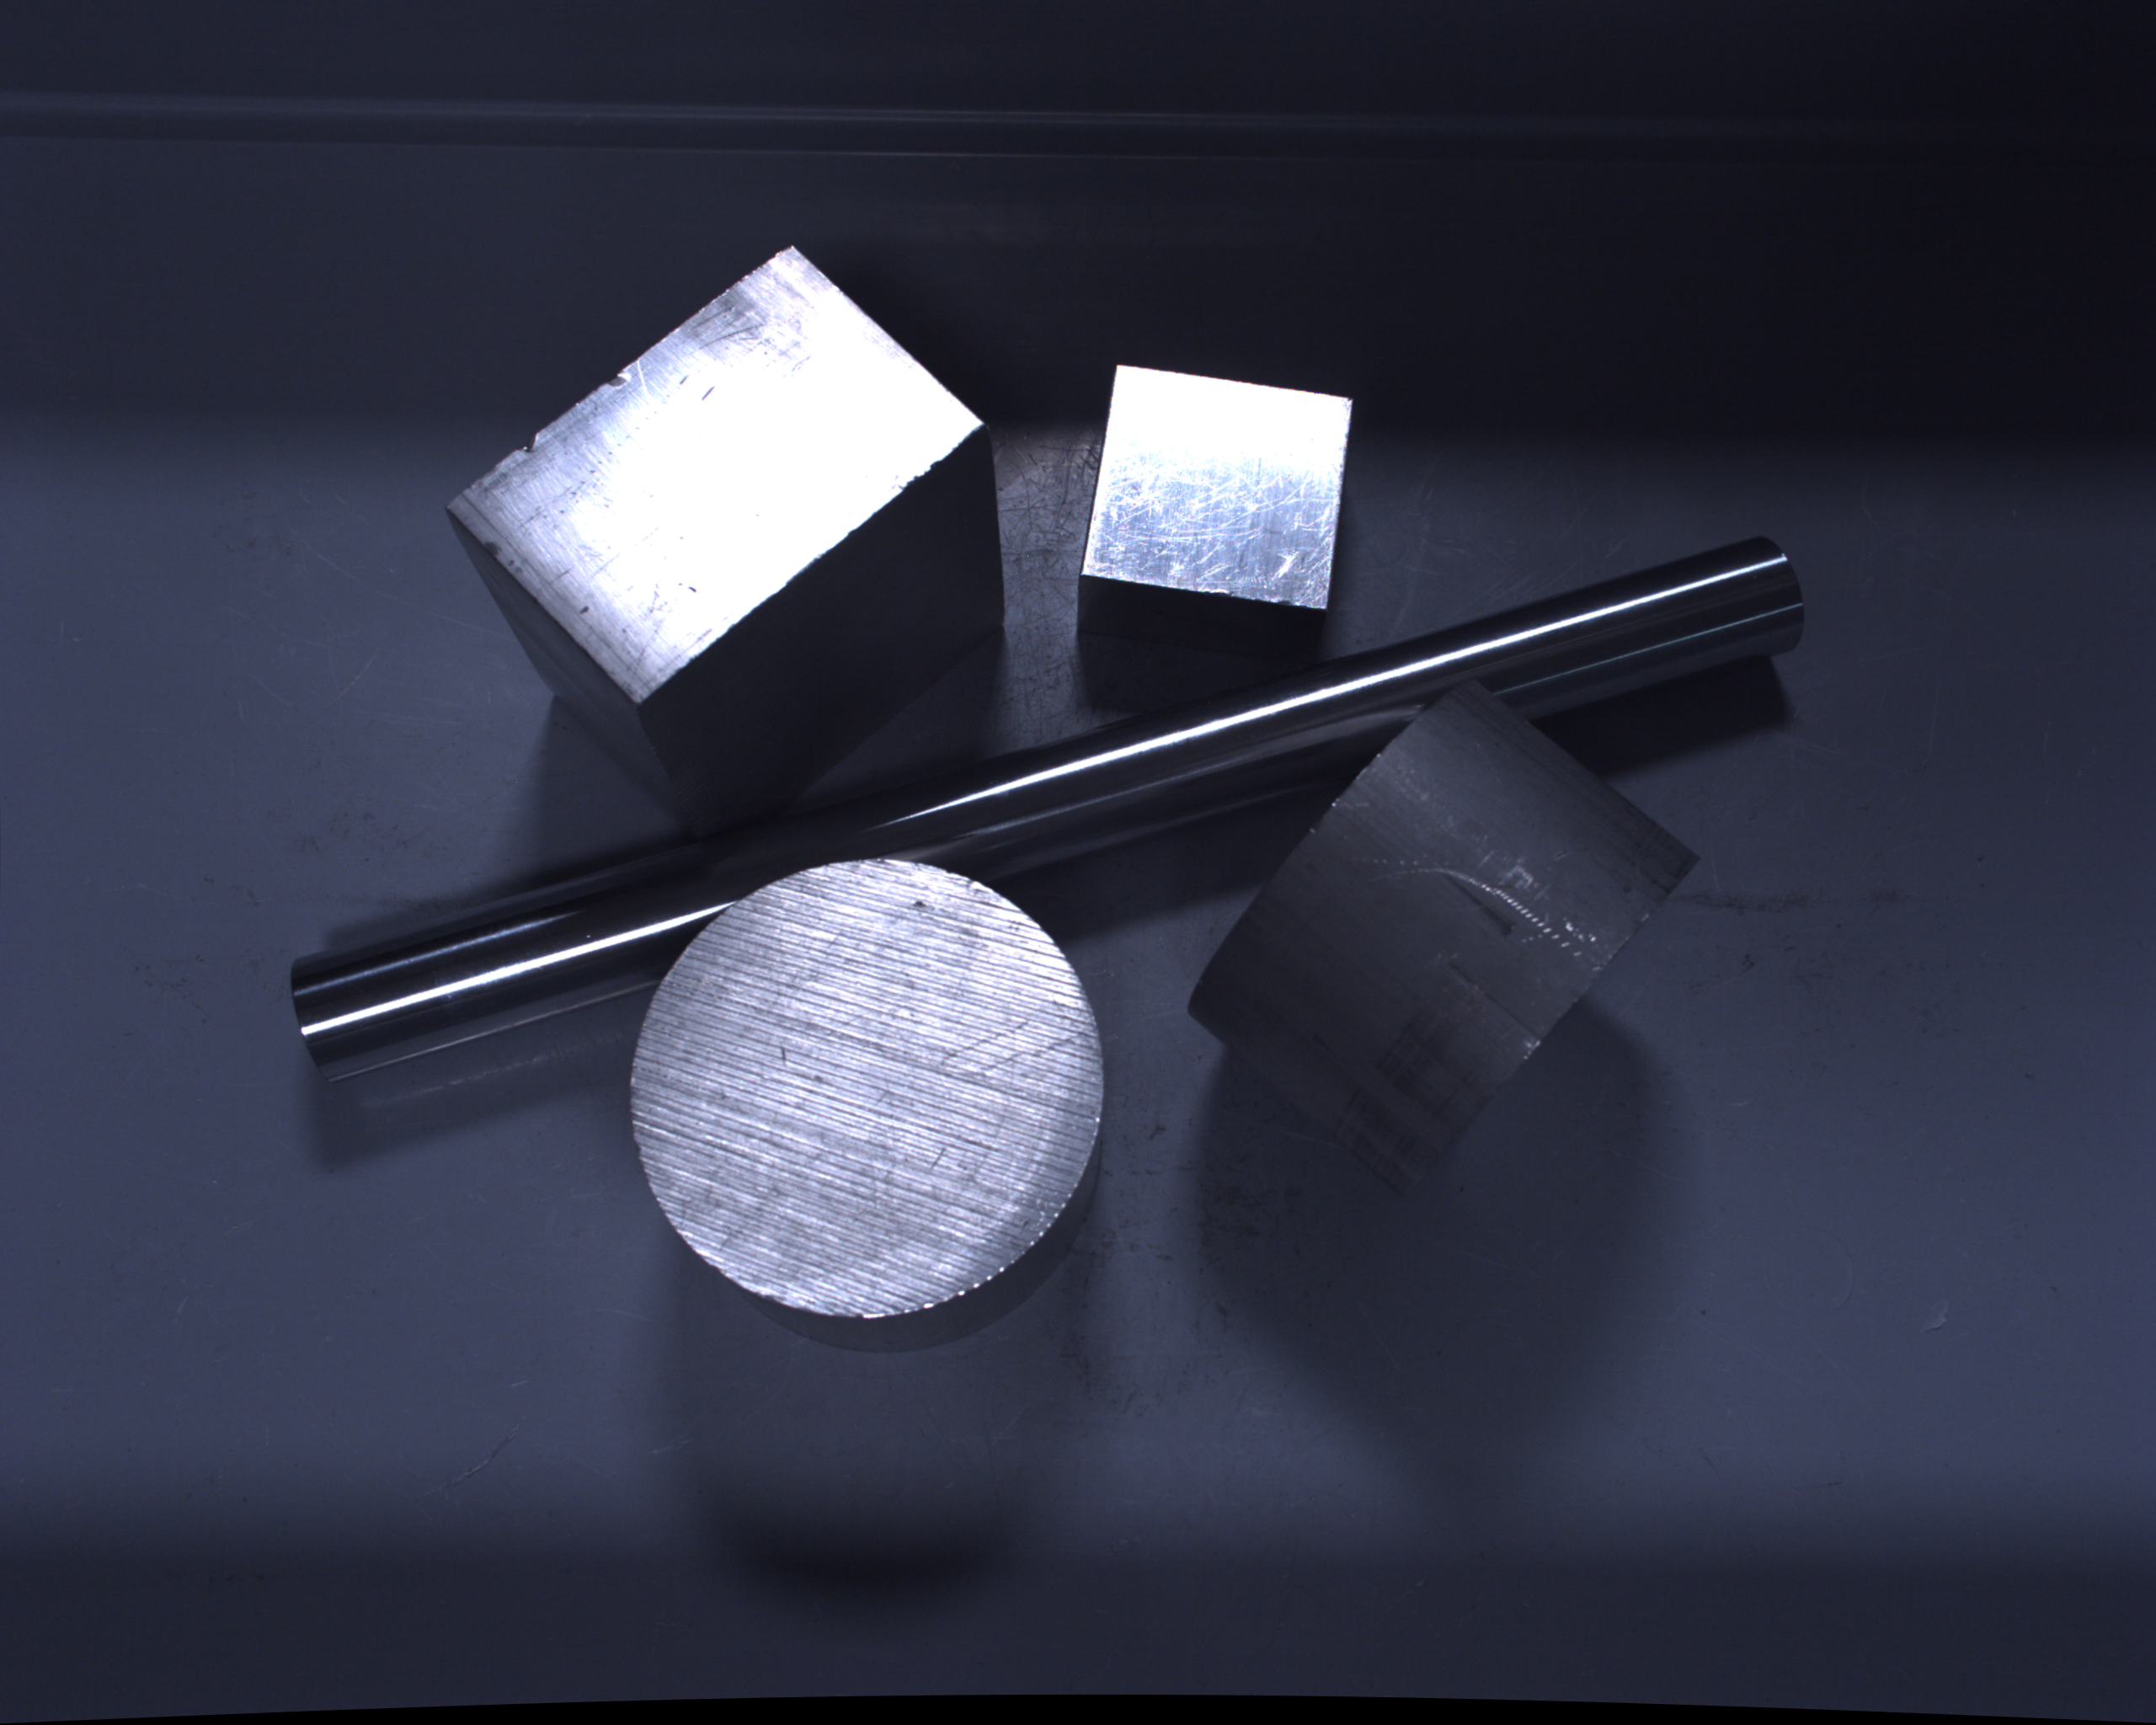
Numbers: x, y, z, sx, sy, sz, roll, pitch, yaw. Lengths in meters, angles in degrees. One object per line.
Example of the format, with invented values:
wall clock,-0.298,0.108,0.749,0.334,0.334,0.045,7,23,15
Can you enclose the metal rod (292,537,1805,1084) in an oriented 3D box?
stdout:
metal rod,0.000,-0.013,0.413,0.302,0.025,0.025,-16,71,-7

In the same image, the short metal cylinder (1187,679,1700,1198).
short metal cylinder,0.065,0.014,0.375,0.050,0.080,0.080,41,75,13

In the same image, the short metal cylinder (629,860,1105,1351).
short metal cylinder,-0.036,0.045,0.377,0.081,0.050,0.080,0,70,0

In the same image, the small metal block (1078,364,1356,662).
small metal block,0.029,-0.073,0.435,0.050,0.025,0.050,8,70,2

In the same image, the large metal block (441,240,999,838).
large metal block,-0.063,-0.057,0.400,0.080,0.080,0.050,-42,76,-14
